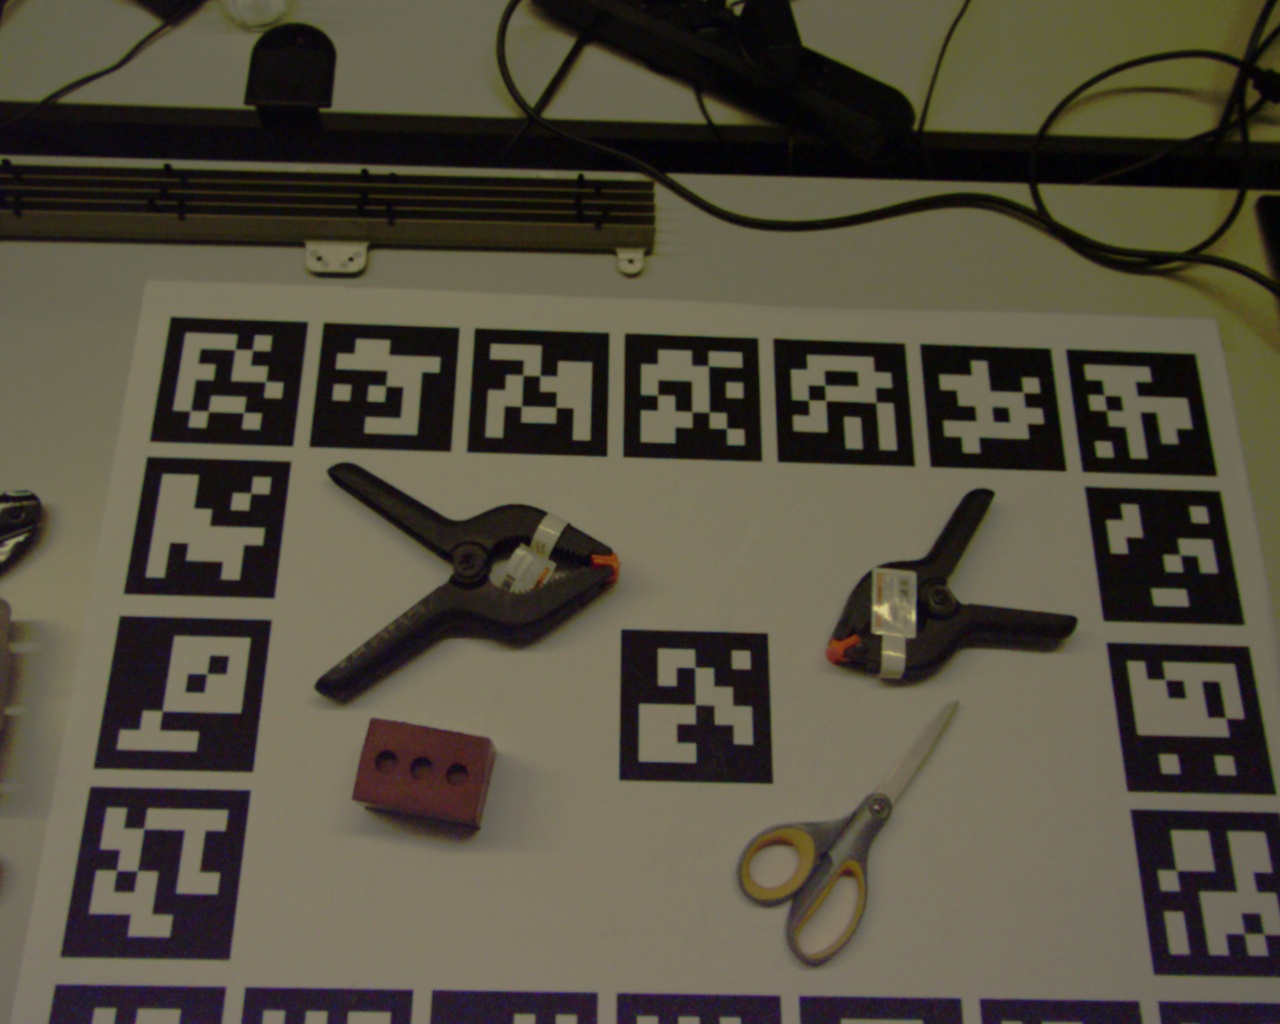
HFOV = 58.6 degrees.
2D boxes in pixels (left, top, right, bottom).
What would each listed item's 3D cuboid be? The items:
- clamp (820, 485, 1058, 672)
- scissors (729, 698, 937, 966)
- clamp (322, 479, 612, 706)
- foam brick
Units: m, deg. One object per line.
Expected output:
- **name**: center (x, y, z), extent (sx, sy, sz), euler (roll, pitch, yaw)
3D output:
- **clamp**: center (0.204, 0.065, 0.820), extent (0.164, 0.036, 0.122), euler (-26, 81, -10)
- **scissors**: center (0.142, 0.202, 0.773), extent (0.088, 0.016, 0.202), euler (40, 72, 3)
- **clamp**: center (-0.121, 0.050, 0.807), extent (0.202, 0.036, 0.166), euler (-3, 68, -4)
- **foam brick**: center (-0.138, 0.177, 0.757), extent (0.078, 0.051, 0.053), euler (7, 72, 4)
